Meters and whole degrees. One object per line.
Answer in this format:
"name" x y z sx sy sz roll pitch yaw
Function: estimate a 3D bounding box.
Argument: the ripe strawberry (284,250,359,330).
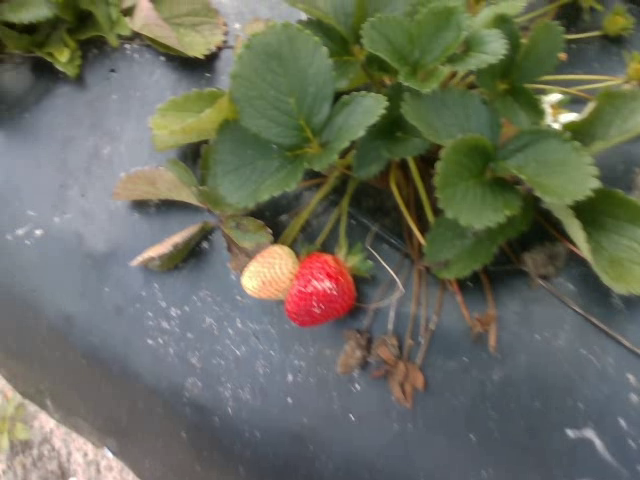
"ripe strawberry" -0.003 0.025 0.316 0.041 0.034 0.033 -34 -9 -26
